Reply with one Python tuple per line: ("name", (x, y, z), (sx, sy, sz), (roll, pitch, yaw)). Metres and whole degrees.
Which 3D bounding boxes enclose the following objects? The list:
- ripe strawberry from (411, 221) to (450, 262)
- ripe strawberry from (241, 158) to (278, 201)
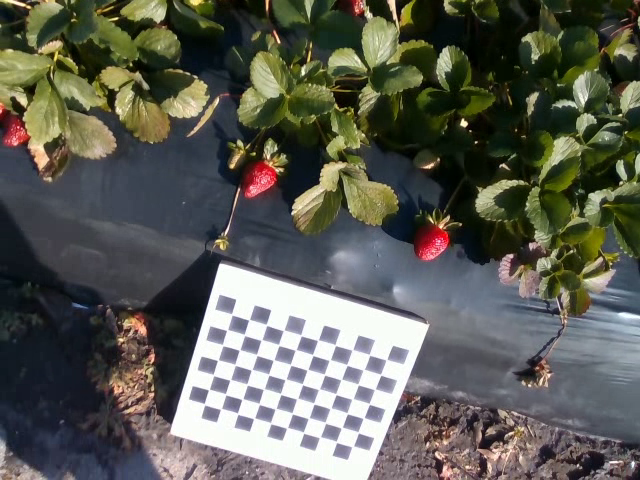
("ripe strawberry", (0.121, 0.008, 0.837), (0.043, 0.043, 0.050), (-16, 30, 53))
("ripe strawberry", (-0.071, -0.066, 0.826), (0.041, 0.053, 0.043), (27, -25, -11))
